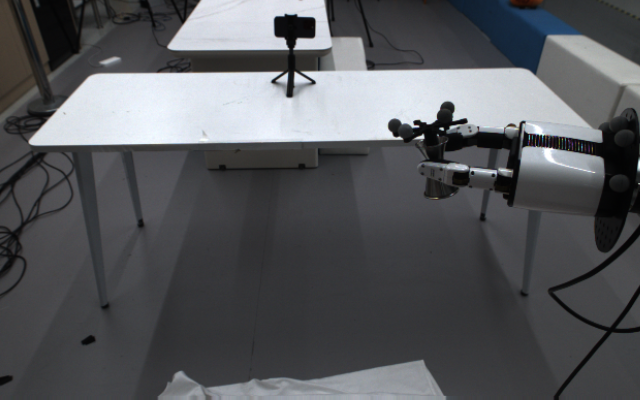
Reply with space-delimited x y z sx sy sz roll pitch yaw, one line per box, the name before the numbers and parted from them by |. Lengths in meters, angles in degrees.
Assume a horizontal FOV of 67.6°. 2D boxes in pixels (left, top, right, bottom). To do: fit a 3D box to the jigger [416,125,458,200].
jigger | 0.144 -0.040 0.598 0.043 0.071 0.043 -14 21 6
